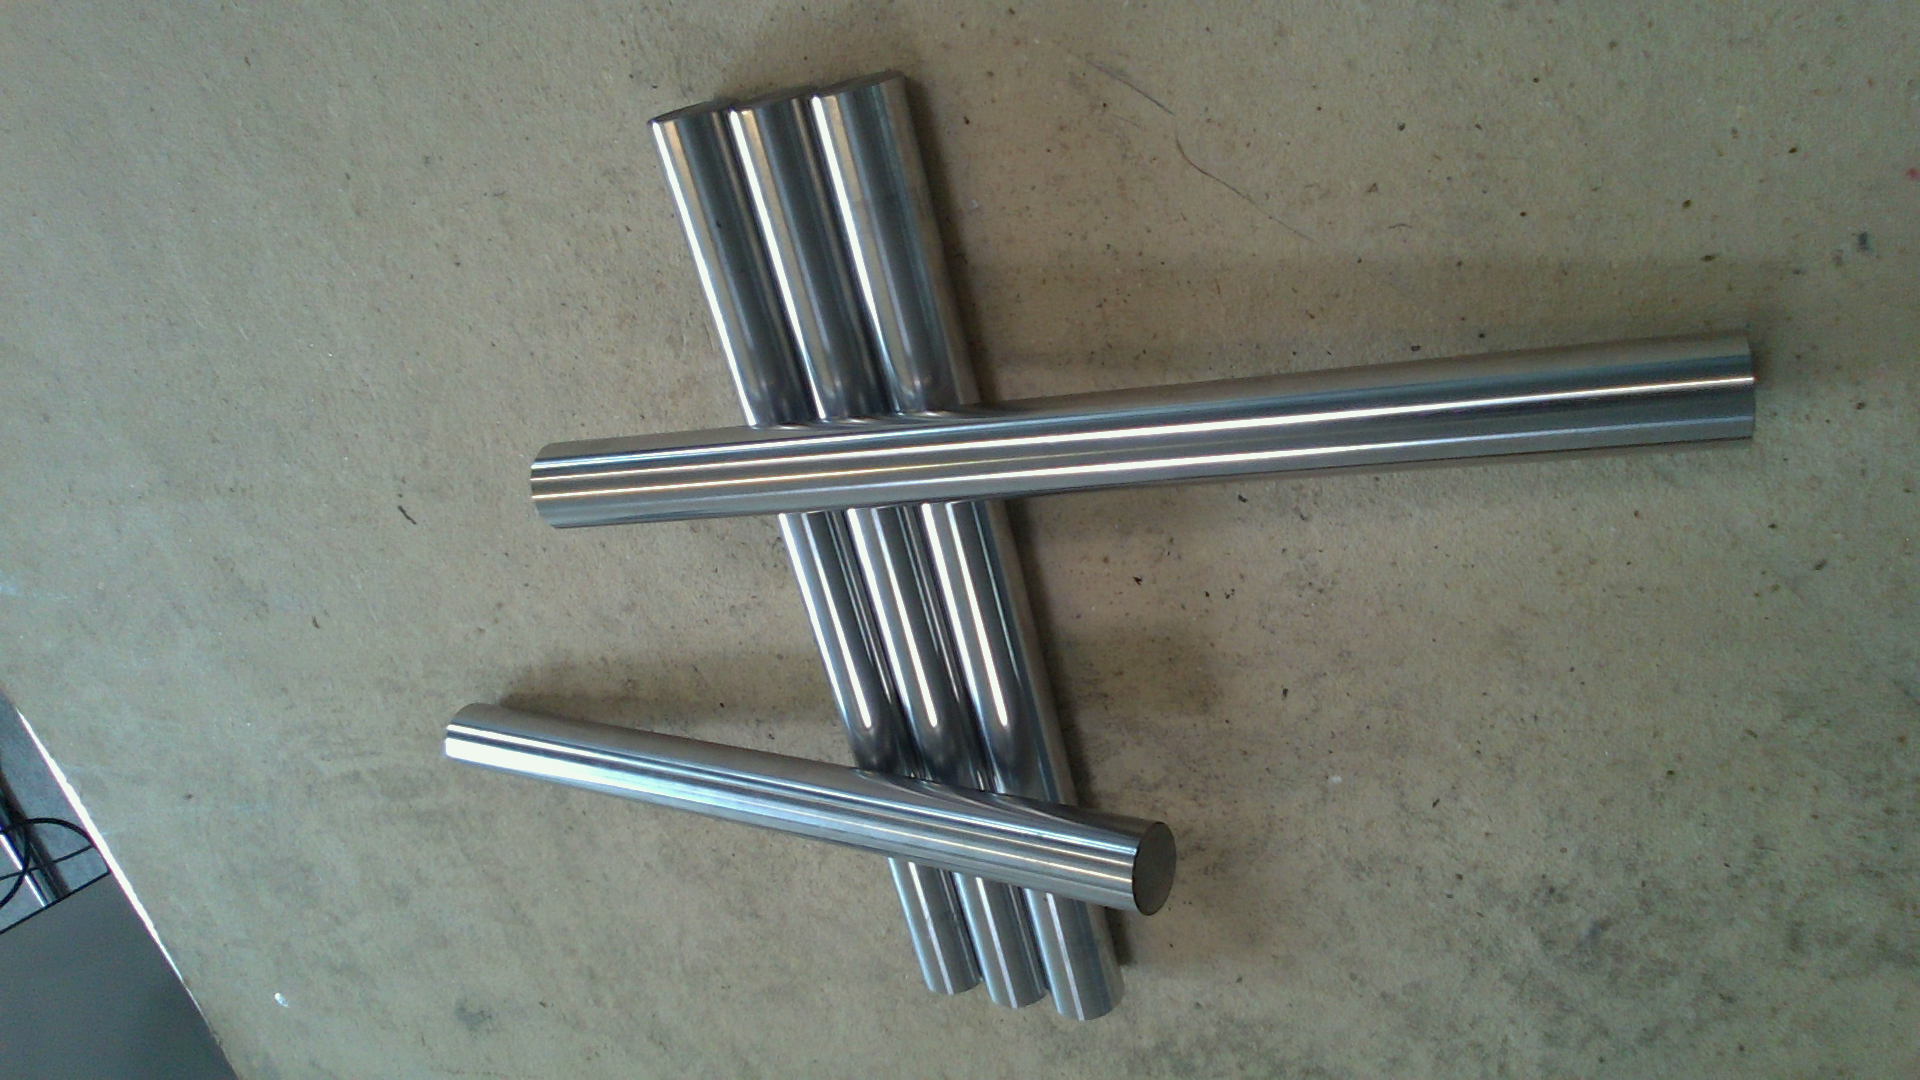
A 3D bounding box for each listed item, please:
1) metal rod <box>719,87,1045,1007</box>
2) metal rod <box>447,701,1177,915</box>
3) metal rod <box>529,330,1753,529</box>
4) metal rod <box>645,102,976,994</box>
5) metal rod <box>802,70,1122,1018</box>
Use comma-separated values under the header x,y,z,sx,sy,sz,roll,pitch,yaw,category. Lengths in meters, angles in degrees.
x,y,z,sx,sy,sz,roll,pitch,yaw,category
-0.014,0.020,0.412,0.025,0.025,0.300,0,118,28,metal rod
-0.069,0.082,0.456,0.299,0.025,0.025,3,120,35,metal rod
0.024,-0.024,0.341,0.299,0.025,0.025,-3,117,21,metal rod
-0.036,0.020,0.424,0.025,0.025,0.300,0,119,28,metal rod
0.008,0.020,0.401,0.025,0.025,0.300,0,119,28,metal rod
